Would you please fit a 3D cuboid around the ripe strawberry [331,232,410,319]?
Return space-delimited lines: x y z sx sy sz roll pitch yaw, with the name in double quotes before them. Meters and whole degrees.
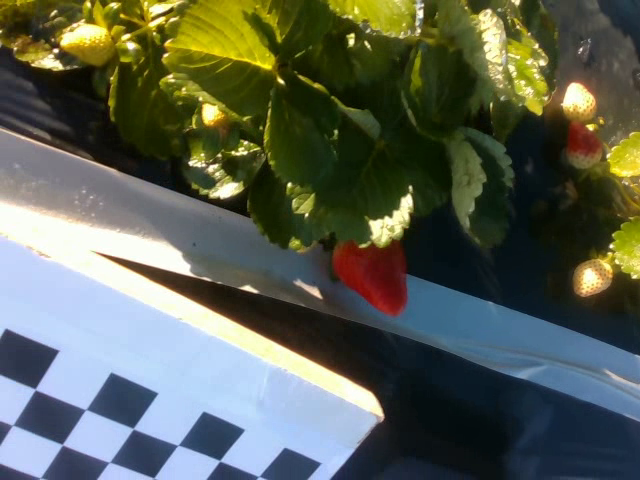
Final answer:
"ripe strawberry" 0.028 0.018 0.330 0.045 0.064 0.049 -29 -35 8
